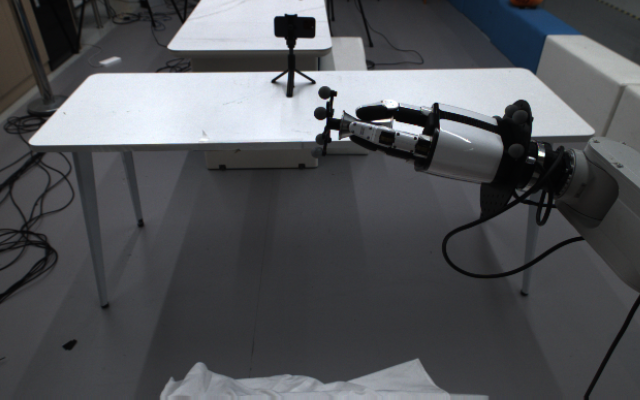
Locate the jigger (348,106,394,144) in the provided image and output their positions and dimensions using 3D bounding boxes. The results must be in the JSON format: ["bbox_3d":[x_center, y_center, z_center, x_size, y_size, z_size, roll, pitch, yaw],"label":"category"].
[{"bbox_3d":[0.068,-0.098,0.653,0.071,0.043,0.043,8,35,4],"label":"jigger"}]
